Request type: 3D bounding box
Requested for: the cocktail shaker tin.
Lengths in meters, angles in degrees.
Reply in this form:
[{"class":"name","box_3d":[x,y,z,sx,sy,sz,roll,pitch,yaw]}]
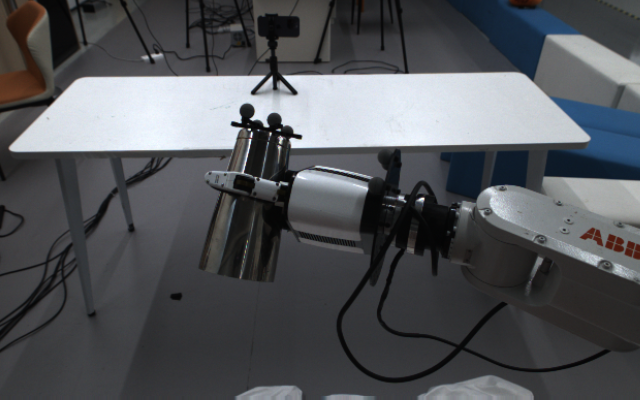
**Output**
[{"class":"cocktail shaker tin","box_3d":[-0.082,0.007,0.583,0.093,0.170,0.093,11,-5,1]}]
